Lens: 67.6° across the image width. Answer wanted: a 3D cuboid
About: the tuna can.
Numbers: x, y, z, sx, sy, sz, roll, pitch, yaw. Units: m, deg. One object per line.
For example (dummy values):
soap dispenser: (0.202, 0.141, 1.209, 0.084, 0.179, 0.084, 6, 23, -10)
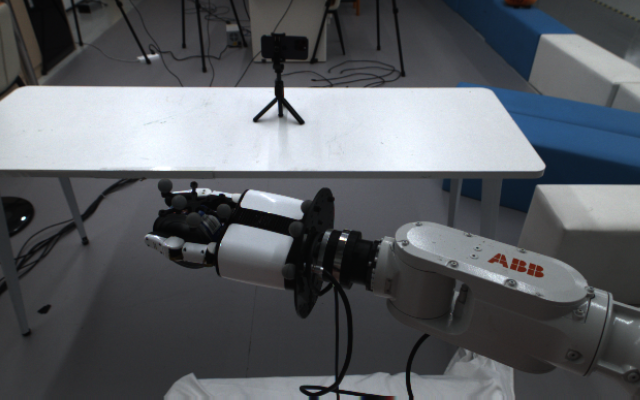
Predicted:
tuna can: (-0.163, 0.044, 0.613, 0.085, 0.085, 0.034, 12, 33, 14)
